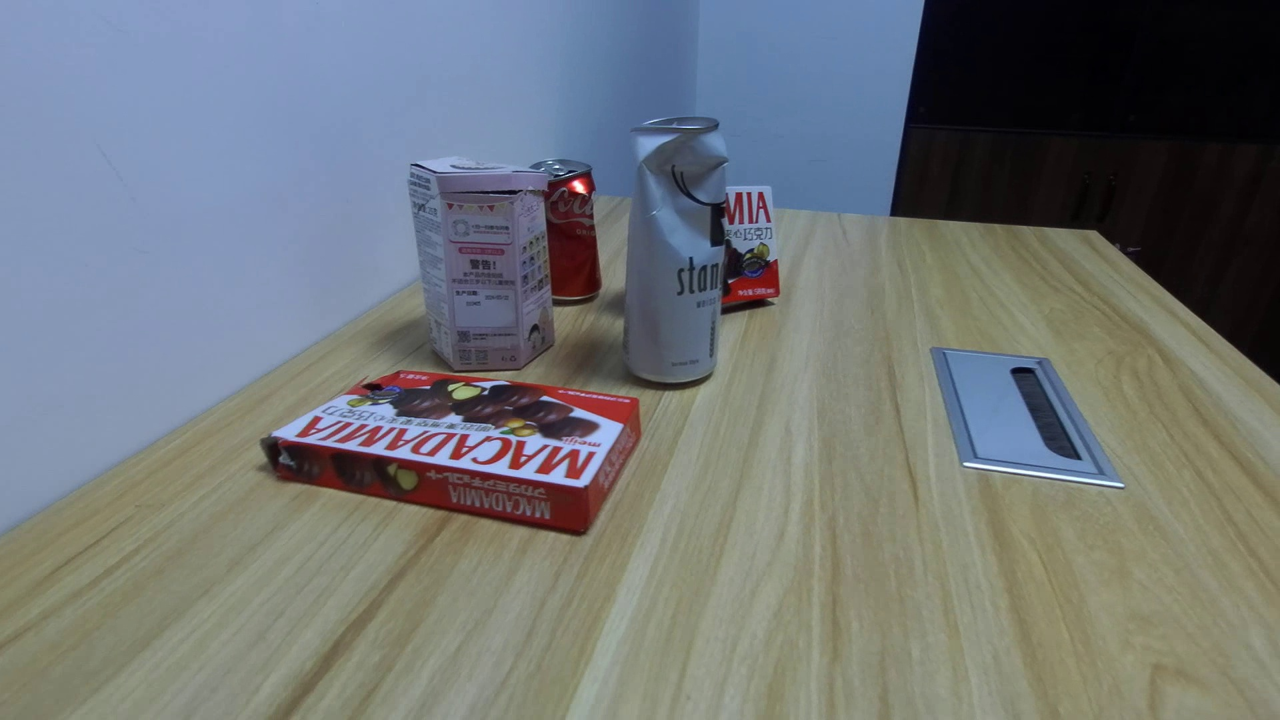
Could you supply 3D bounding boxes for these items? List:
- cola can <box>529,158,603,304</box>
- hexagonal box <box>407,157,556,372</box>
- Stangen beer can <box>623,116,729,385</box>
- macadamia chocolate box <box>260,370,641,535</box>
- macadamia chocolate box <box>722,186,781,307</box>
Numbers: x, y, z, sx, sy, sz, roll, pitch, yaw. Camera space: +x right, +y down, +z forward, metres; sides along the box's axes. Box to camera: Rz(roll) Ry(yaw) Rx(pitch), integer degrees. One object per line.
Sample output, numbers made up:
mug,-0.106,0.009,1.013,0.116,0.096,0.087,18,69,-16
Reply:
cola can,-0.066,-0.110,0.604,0.066,0.112,0.069,-5,28,-9
hexagonal box,-0.108,-0.069,0.492,0.092,0.135,0.085,-1,26,-3
Stangen beer can,0.021,-0.067,0.456,0.066,0.166,0.065,-9,27,-16
macadamia chocolate box,-0.101,0.041,0.394,0.186,0.027,0.103,7,25,13
macadamia chocolate box,0.055,-0.096,0.578,0.127,0.112,0.056,-11,27,-19
